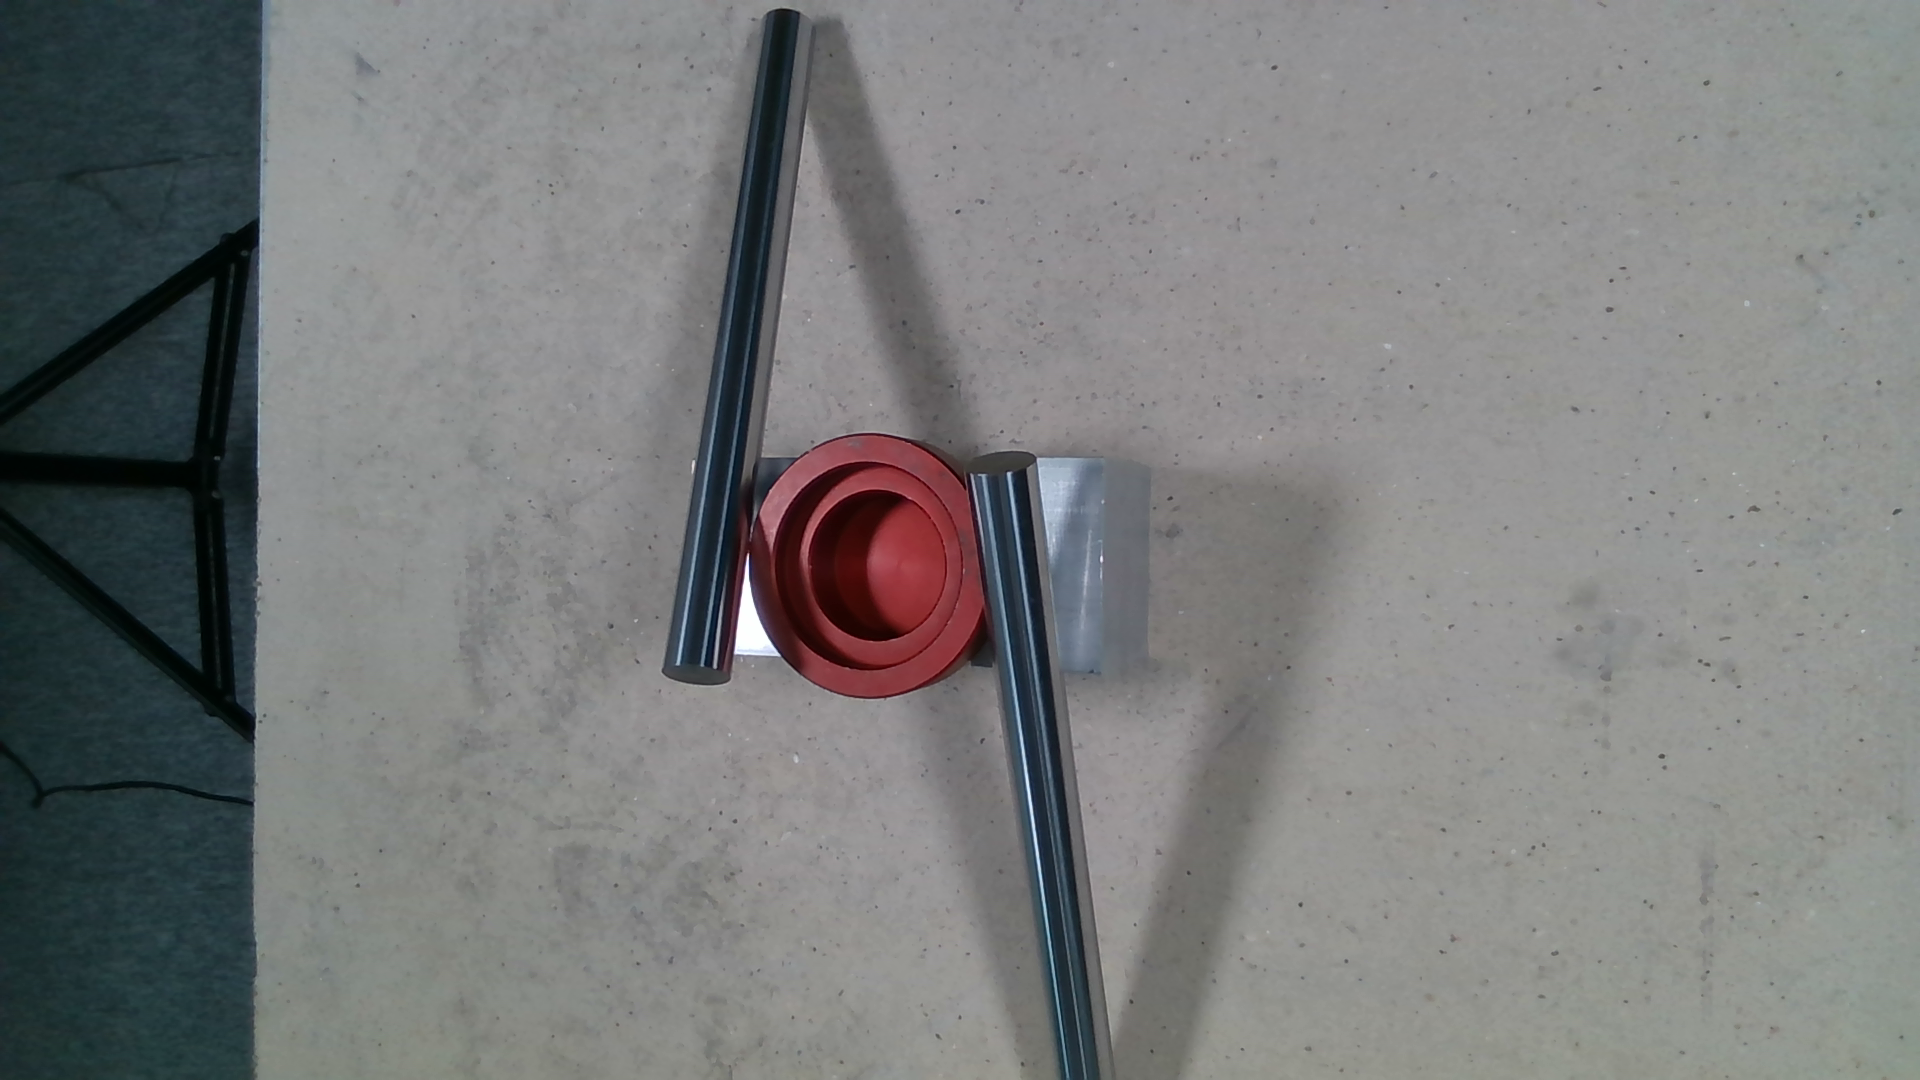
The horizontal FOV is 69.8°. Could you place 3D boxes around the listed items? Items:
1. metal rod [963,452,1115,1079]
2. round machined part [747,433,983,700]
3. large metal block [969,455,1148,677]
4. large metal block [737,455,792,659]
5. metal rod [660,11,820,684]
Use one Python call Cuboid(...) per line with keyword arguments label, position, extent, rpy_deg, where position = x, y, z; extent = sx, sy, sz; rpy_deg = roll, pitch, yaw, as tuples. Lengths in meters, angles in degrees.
Cuboid(label="metal rod", position=(0.035, 0.113, 0.517), extent=(0.025, 0.025, 0.301), rpy_deg=(-1, 112, 20))
Cuboid(label="round machined part", position=(-0.028, 0.010, 0.524), extent=(0.098, 0.042, 0.098), rpy_deg=(0, 91, 20))
Cuboid(label="large metal block", position=(0.041, 0.009, 0.541), extent=(0.050, 0.080, 0.080), rpy_deg=(1, 91, 20))
Cuboid(label="large metal block", position=(-0.072, 0.006, 0.583), extent=(0.050, 0.080, 0.080), rpy_deg=(1, 91, 20))
Cuboid(label="metal rod", position=(-0.086, -0.089, 0.557), extent=(0.025, 0.025, 0.299), rpy_deg=(-4, 66, 20))
